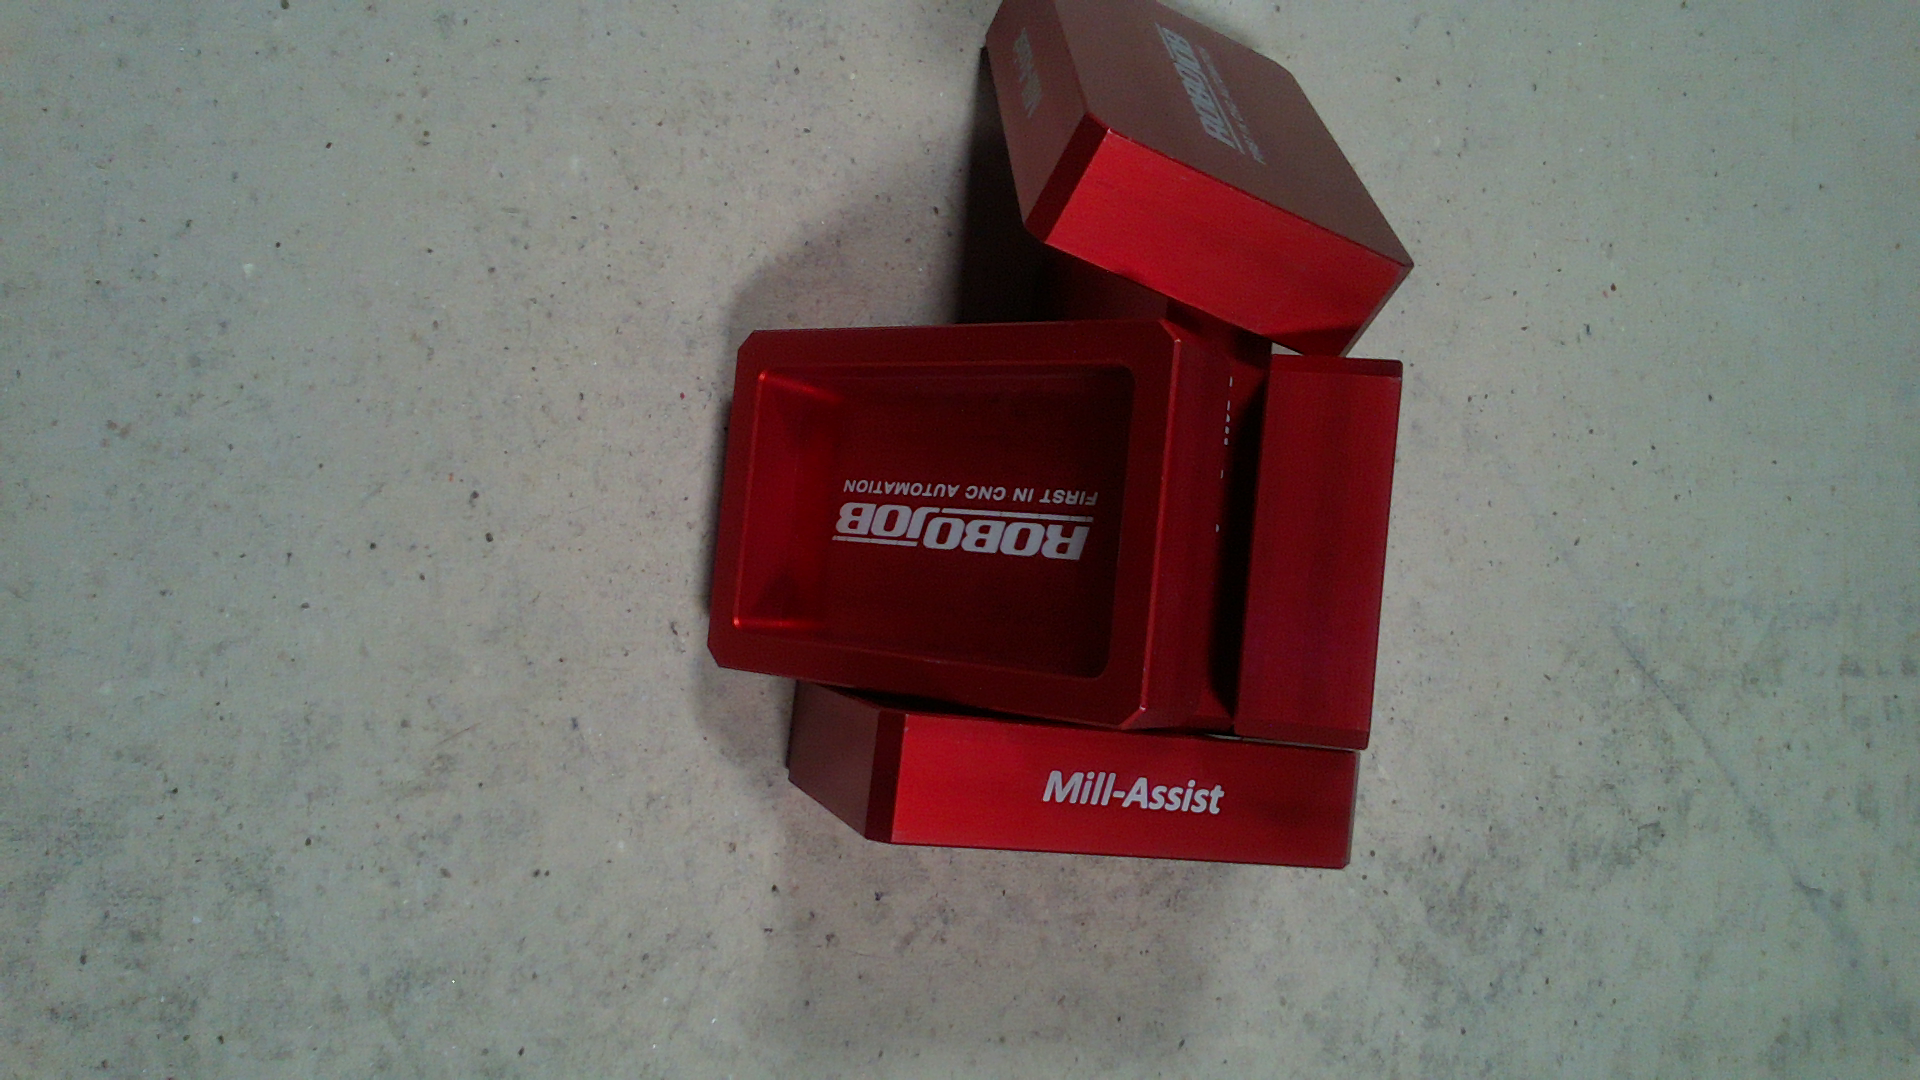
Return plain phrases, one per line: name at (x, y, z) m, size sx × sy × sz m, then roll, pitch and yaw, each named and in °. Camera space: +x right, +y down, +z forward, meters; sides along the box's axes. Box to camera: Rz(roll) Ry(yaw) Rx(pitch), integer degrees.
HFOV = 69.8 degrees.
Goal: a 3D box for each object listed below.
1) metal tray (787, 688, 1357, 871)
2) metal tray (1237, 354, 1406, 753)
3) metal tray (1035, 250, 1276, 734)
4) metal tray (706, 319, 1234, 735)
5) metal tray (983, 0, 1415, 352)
metal tray at (0.027, 0.061, 0.369) m, size 0.130 × 0.090 × 0.030 m, roll 7°, pitch 88°, yaw -20°
metal tray at (0.097, 0.006, 0.376) m, size 0.030 × 0.130 × 0.090 m, roll 5°, pitch 88°, yaw 14°
metal tray at (0.046, -0.018, 0.375) m, size 0.030 × 0.090 × 0.130 m, roll 7°, pitch 88°, yaw -20°
metal tray at (-0.002, -0.006, 0.341) m, size 0.030 × 0.129 × 0.090 m, roll 9°, pitch 86°, yaw -56°
metal tray at (0.057, -0.107, 0.365) m, size 0.090 × 0.130 × 0.030 m, roll 19°, pitch 125°, yaw -19°
